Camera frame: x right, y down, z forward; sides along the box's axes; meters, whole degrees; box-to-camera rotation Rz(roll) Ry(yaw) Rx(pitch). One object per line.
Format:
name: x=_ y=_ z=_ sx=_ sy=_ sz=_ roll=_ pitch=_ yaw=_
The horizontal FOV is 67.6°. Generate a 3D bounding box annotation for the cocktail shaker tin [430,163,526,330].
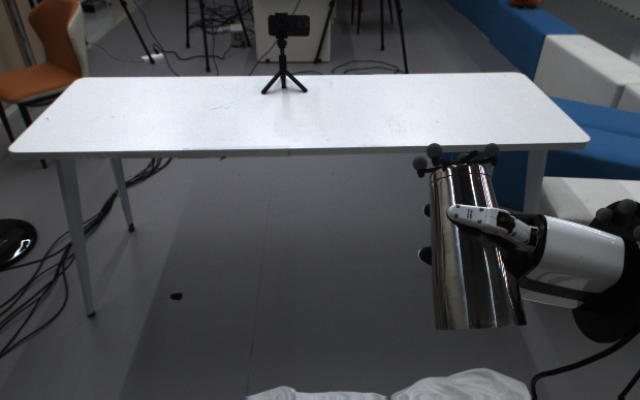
cocktail shaker tin: x=0.164 y=0.051 z=0.529 sx=0.093 sy=0.093 sz=0.170 roll=-3 pitch=76 yaw=-8
